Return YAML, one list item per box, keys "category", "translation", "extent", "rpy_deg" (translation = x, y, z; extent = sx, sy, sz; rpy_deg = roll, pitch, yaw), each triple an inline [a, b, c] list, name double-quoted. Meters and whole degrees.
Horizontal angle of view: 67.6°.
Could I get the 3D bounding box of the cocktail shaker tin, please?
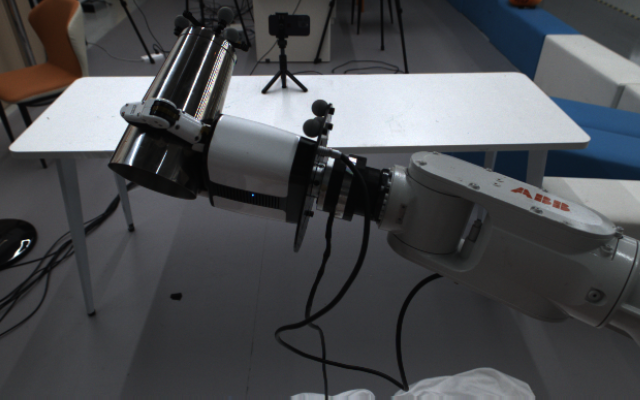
- category: "cocktail shaker tin"
  translation: [-0.149, -0.095, 0.520]
  extent: [0.093, 0.093, 0.170]
  rpy_deg: [12, 73, 14]
